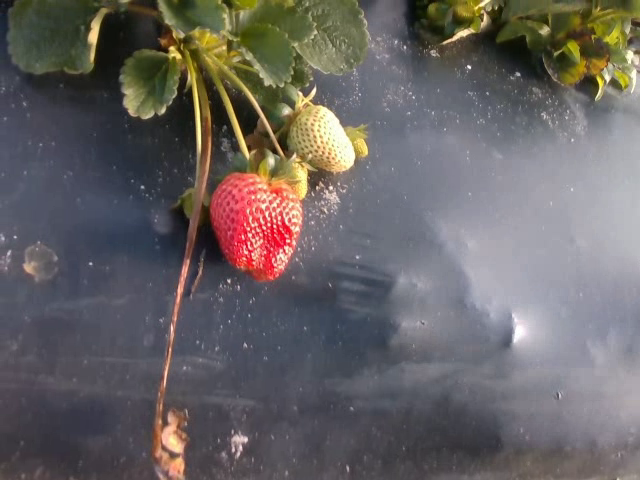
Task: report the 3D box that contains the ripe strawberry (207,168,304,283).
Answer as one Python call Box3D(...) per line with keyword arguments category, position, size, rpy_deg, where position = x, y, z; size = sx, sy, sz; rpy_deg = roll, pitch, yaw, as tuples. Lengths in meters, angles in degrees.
Box3D(category="ripe strawberry", position=(-0.026, -0.006, 0.292), size=(0.047, 0.050, 0.034), rpy_deg=(8, -11, -19))
